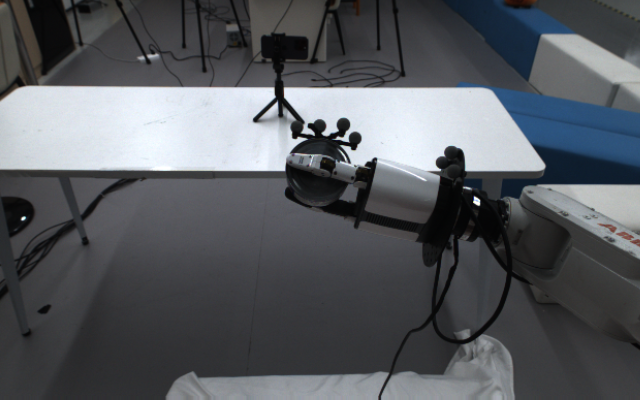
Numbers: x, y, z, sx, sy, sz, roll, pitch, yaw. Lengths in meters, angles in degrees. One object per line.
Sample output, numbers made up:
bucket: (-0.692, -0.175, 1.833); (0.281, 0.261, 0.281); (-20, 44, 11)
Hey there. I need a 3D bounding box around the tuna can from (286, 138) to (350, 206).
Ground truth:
tuna can: (-0.002, -0.037, 0.635); (0.085, 0.034, 0.085); (1, 73, -3)
